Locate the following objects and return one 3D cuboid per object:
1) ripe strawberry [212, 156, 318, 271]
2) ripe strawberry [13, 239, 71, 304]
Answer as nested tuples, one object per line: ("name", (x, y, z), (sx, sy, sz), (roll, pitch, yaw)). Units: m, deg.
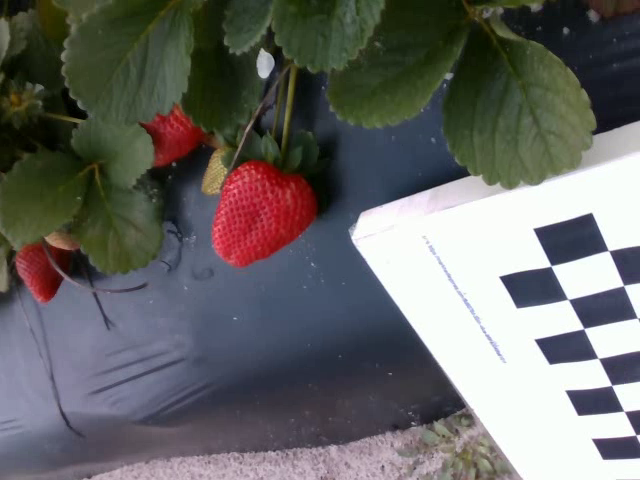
("ripe strawberry", (-0.035, -0.010, 0.321), (0.056, 0.065, 0.057), (21, -27, -3))
("ripe strawberry", (-0.203, 0.021, 0.424), (0.041, 0.052, 0.043), (-6, -20, -42))
